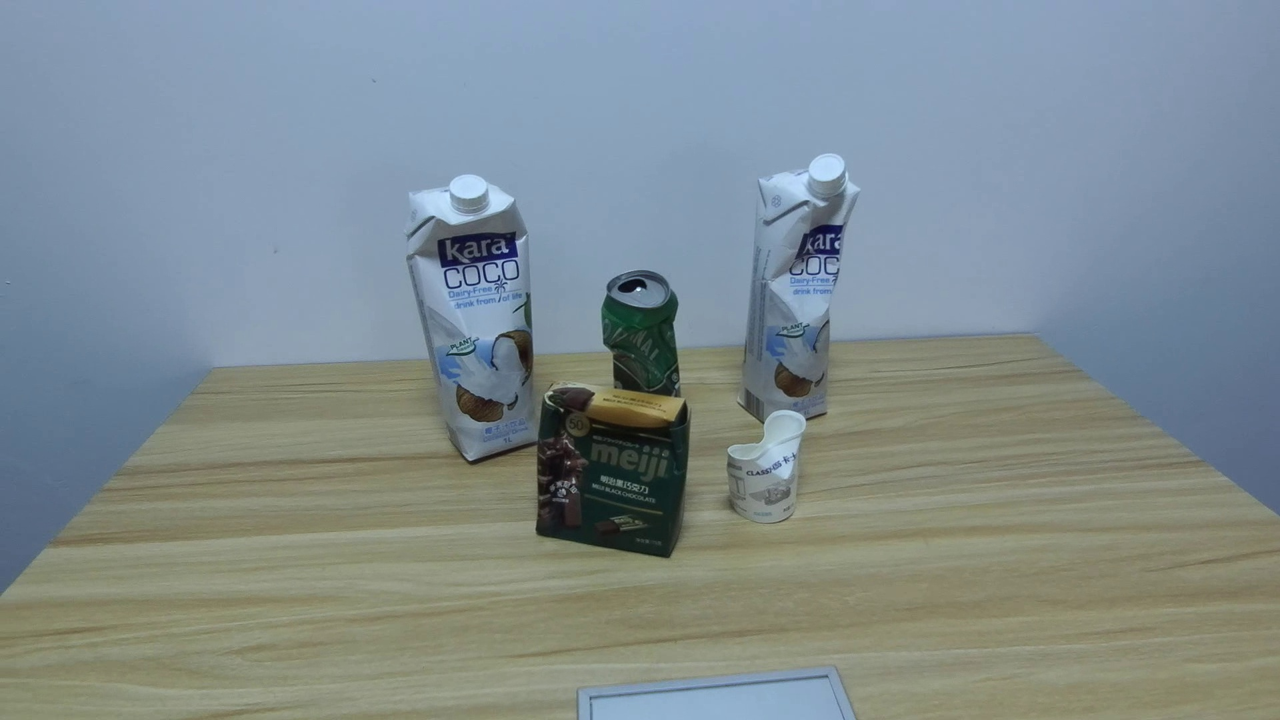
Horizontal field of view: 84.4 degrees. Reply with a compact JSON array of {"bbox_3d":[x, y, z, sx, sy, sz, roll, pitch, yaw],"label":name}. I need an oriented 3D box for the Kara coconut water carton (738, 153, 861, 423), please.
[{"bbox_3d":[0.141,-0.062,0.647,0.083,0.256,0.078,-8,30,-15],"label":"Kara coconut water carton"}]

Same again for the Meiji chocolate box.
[{"bbox_3d":[-0.022,0.083,0.545,0.113,0.110,0.058,6,15,12],"label":"Meiji chocolate box"}]

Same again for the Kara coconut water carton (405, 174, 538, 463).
[{"bbox_3d":[-0.140,-0.037,0.615,0.100,0.244,0.071,-19,31,-28],"label":"Kara coconut water carton"}]

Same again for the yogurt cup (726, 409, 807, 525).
[{"bbox_3d":[0.099,0.086,0.563,0.053,0.071,0.075,7,29,15],"label":"yogurt cup"}]

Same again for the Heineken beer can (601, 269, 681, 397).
[{"bbox_3d":[0.003,-0.001,0.640,0.067,0.159,0.078,-5,33,-2],"label":"Heineken beer can"}]
